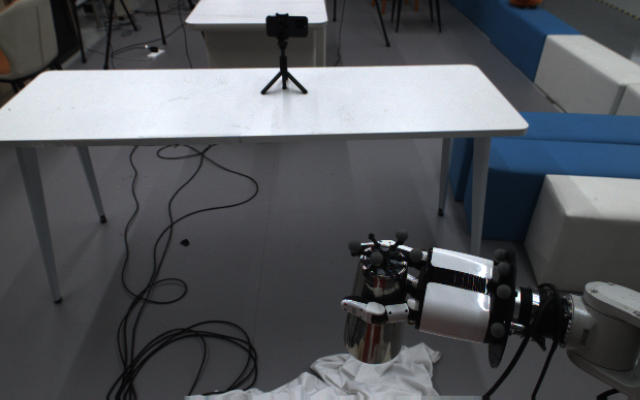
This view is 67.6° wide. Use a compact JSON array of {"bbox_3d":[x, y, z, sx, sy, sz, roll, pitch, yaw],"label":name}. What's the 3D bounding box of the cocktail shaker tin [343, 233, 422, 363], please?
[{"bbox_3d":[0.087,0.144,0.698,0.093,0.170,0.093,1,39,0],"label":"cocktail shaker tin"}]
